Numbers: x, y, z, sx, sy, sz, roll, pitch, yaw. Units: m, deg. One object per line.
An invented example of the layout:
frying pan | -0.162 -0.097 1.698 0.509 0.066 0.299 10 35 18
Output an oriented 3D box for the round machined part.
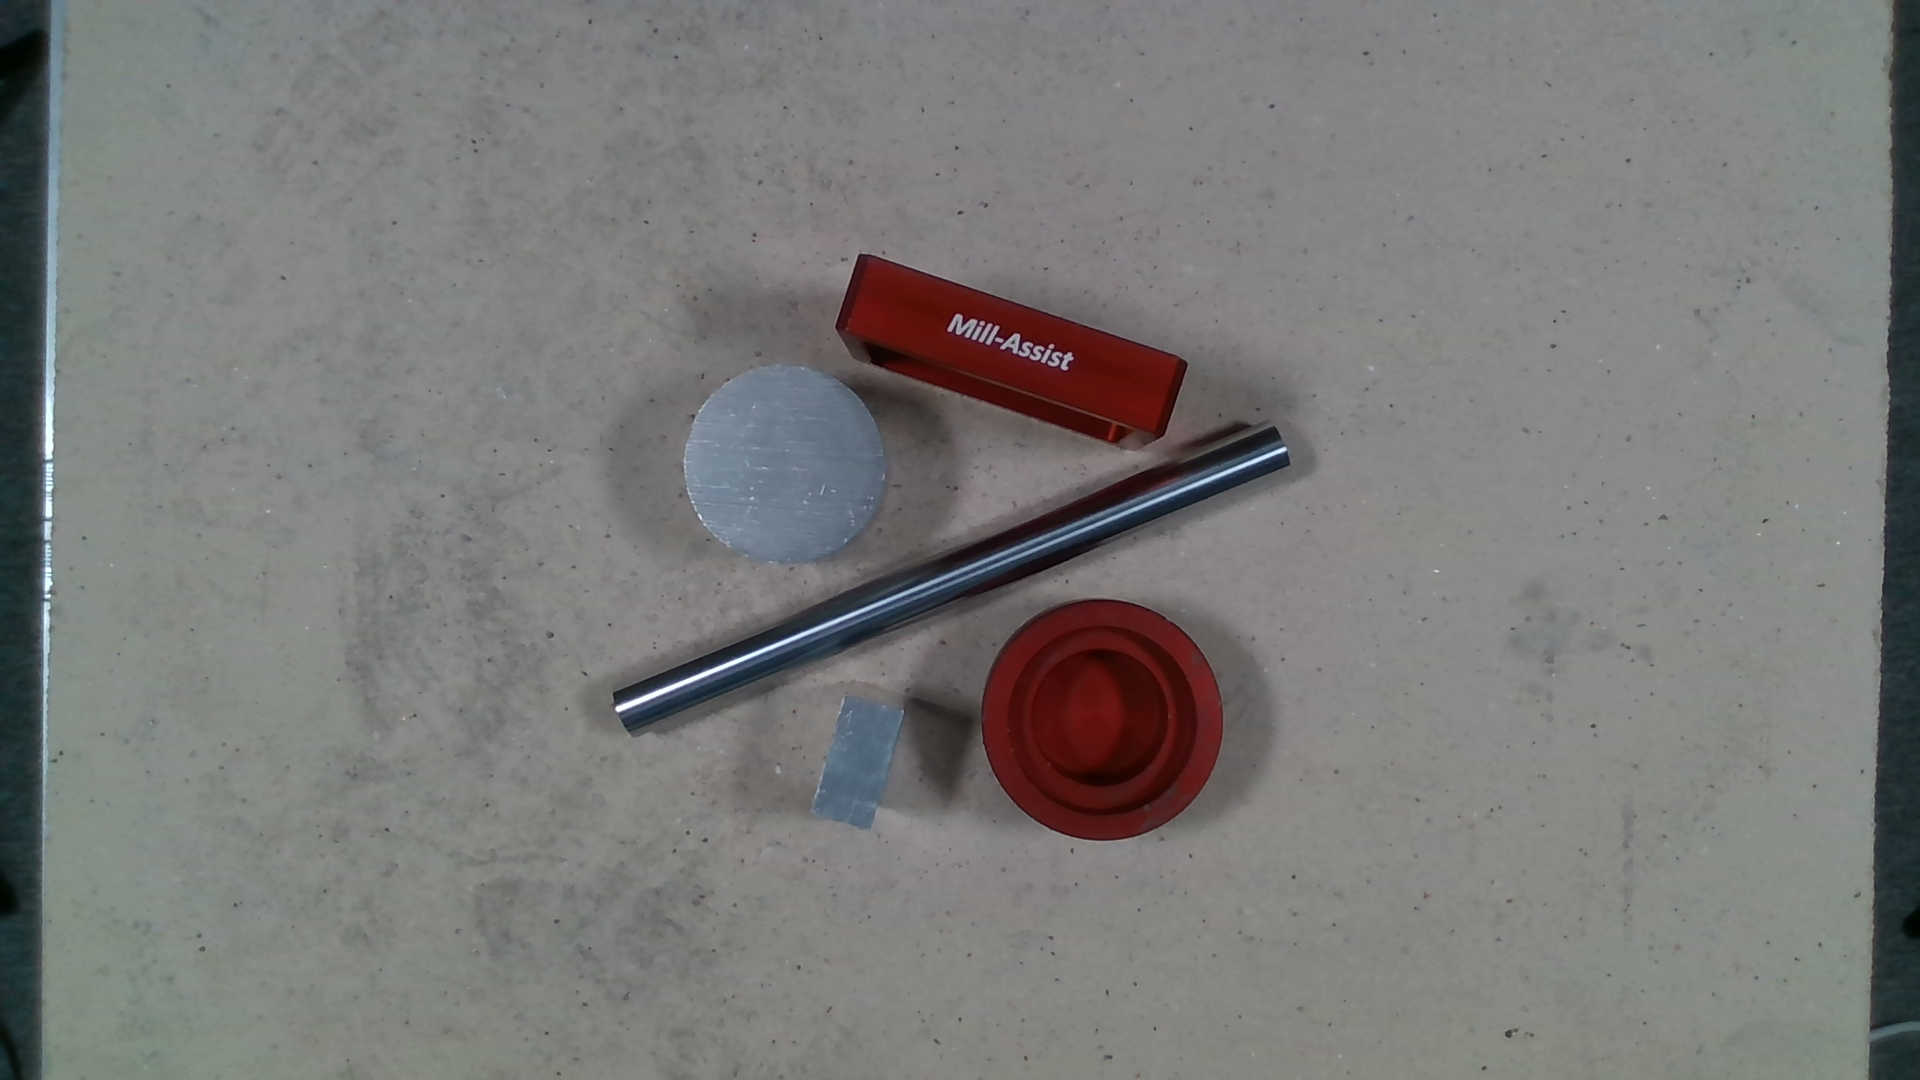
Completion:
round machined part | 0.058 0.073 0.579 0.098 0.042 0.098 0 90 0

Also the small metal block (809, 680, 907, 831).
small metal block | -0.041 0.088 0.573 0.025 0.050 0.050 17 90 0

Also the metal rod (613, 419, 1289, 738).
metal rod | -0.004 0.016 0.588 0.300 0.025 0.025 -22 90 0

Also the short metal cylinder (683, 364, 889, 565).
short metal cylinder | -0.071 -0.030 0.574 0.080 0.050 0.080 0 90 0

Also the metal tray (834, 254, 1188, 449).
metal tray | 0.019 -0.073 0.554 0.130 0.090 0.030 18 90 0
